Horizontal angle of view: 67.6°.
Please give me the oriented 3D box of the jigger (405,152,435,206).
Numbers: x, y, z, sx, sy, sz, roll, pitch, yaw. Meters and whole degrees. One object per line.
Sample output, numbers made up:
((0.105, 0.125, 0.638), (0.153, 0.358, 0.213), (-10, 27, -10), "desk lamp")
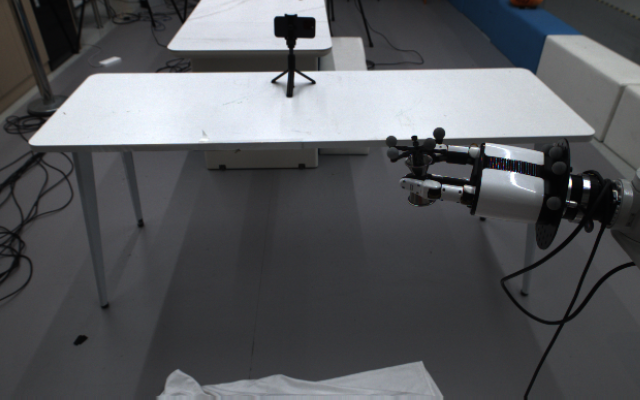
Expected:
((0.150, -0.031, 0.727), (0.043, 0.071, 0.043), (-10, 32, 6), "jigger")
